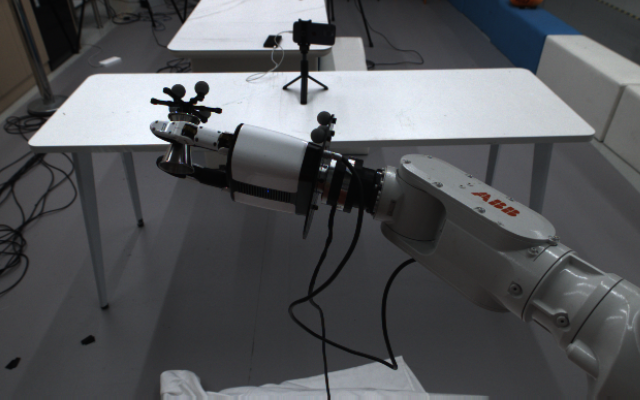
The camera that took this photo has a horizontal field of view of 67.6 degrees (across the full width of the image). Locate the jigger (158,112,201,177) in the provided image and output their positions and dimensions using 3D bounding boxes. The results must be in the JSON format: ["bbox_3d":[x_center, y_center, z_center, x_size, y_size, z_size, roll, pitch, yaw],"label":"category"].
[{"bbox_3d":[-0.176,-0.071,0.609,0.043,0.043,0.071,4,75,2],"label":"jigger"}]
